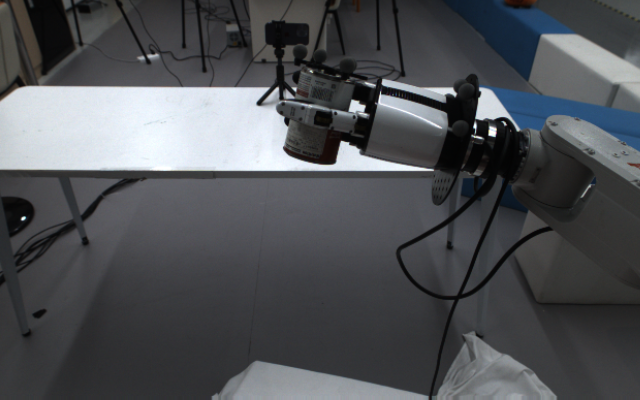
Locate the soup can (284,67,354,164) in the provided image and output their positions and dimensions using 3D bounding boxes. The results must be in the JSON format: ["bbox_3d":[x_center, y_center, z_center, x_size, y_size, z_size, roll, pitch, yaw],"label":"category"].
[{"bbox_3d":[0.000,-0.101,0.582,0.067,0.101,0.067,13,18,-4],"label":"soup can"}]
